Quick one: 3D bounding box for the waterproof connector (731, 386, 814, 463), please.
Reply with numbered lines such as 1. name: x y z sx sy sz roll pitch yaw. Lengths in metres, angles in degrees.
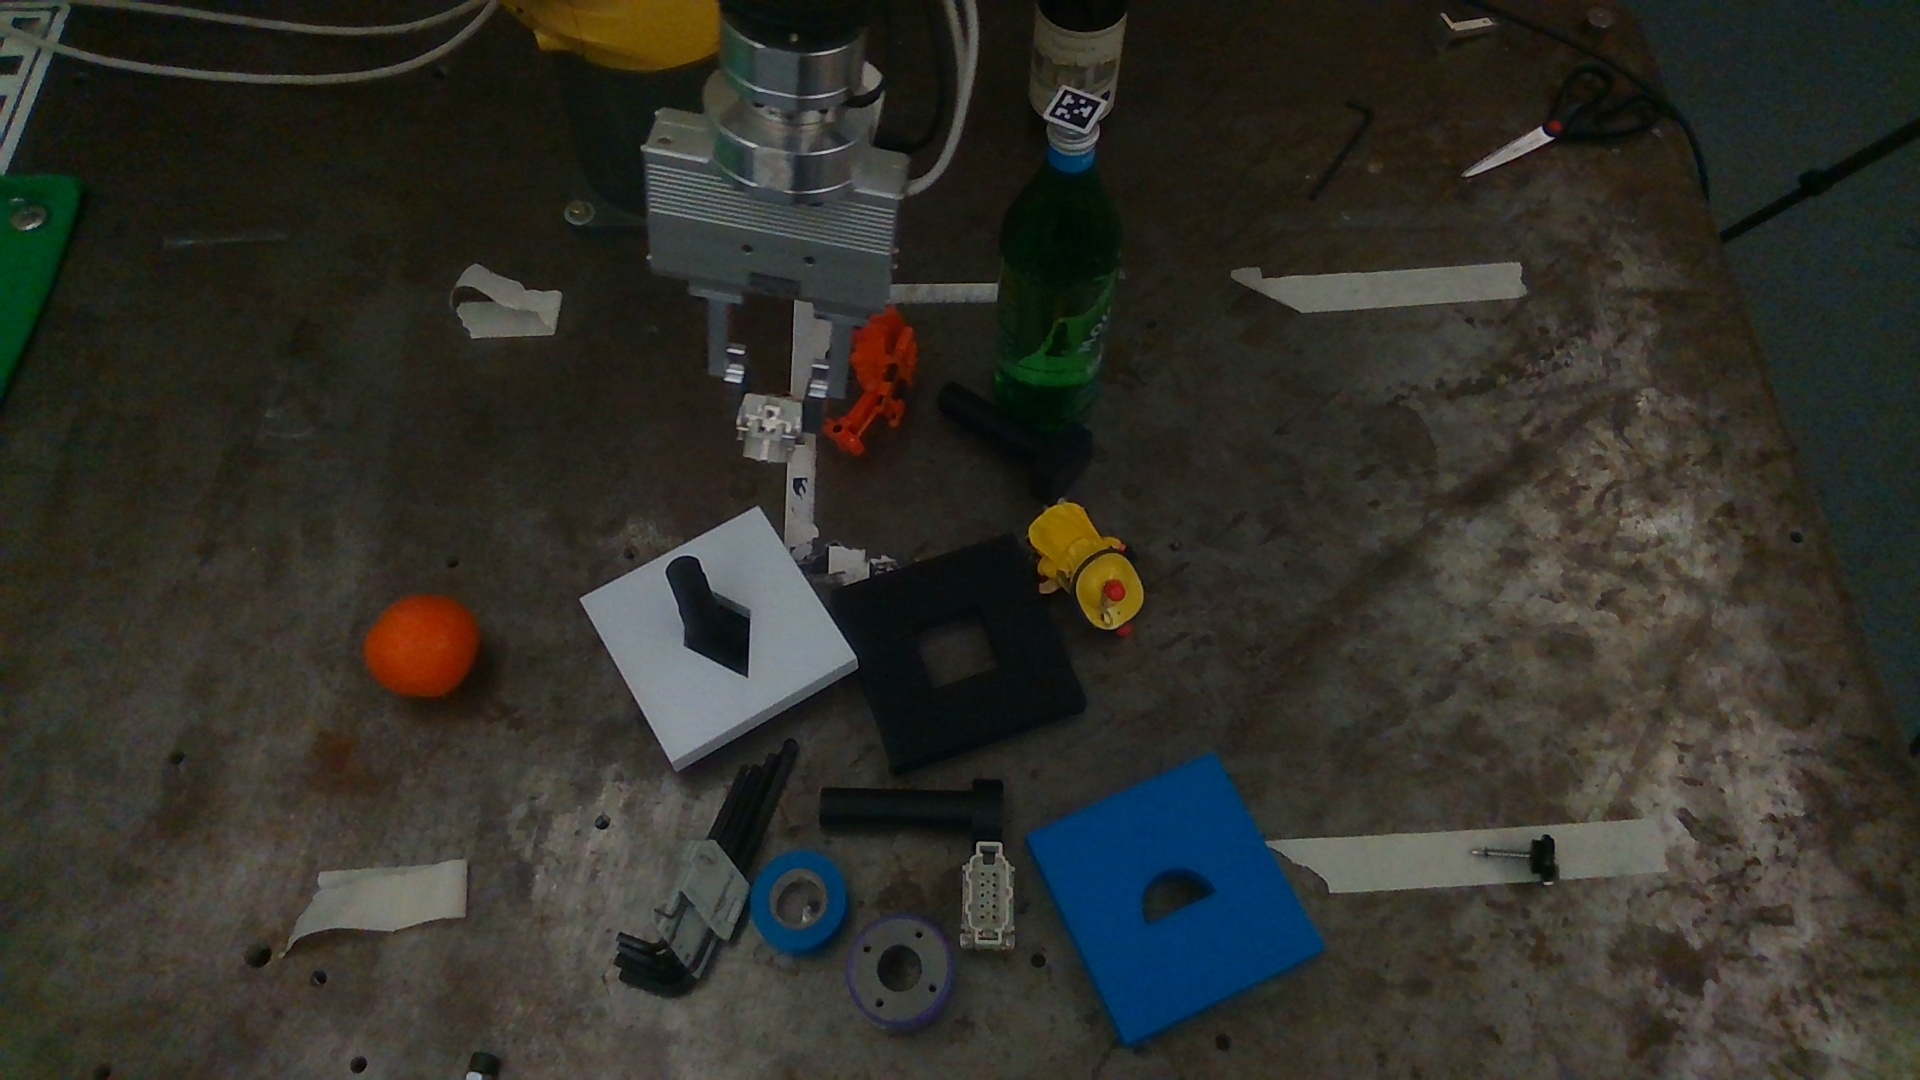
1. waterproof connector: -0.103 -0.064 0.765 0.037 0.069 0.038 7 97 0
